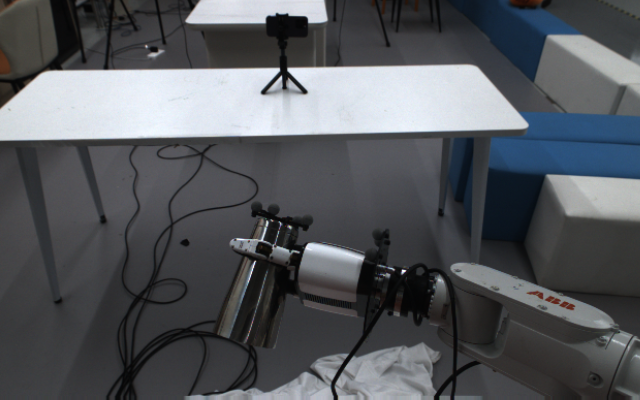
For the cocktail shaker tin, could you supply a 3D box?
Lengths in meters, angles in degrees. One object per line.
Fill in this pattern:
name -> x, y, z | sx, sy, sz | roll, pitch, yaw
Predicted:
cocktail shaker tin -> -0.083, 0.114, 0.699 | 0.093, 0.093, 0.170 | 13, 77, 15
